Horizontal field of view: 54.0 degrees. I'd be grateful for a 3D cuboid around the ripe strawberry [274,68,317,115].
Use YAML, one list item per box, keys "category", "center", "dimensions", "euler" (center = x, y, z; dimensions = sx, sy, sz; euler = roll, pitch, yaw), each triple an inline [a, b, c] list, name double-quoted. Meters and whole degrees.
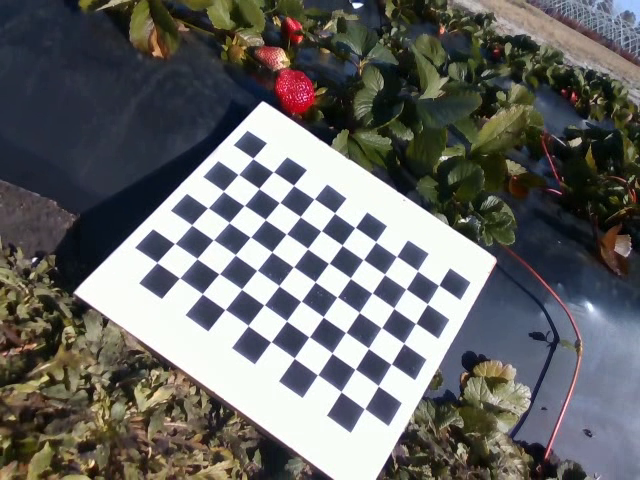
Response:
- category: "ripe strawberry"
  center: [-0.033, -0.160, 0.652]
  dimensions: [0.058, 0.066, 0.062]
  euler: [-18, -21, 9]
